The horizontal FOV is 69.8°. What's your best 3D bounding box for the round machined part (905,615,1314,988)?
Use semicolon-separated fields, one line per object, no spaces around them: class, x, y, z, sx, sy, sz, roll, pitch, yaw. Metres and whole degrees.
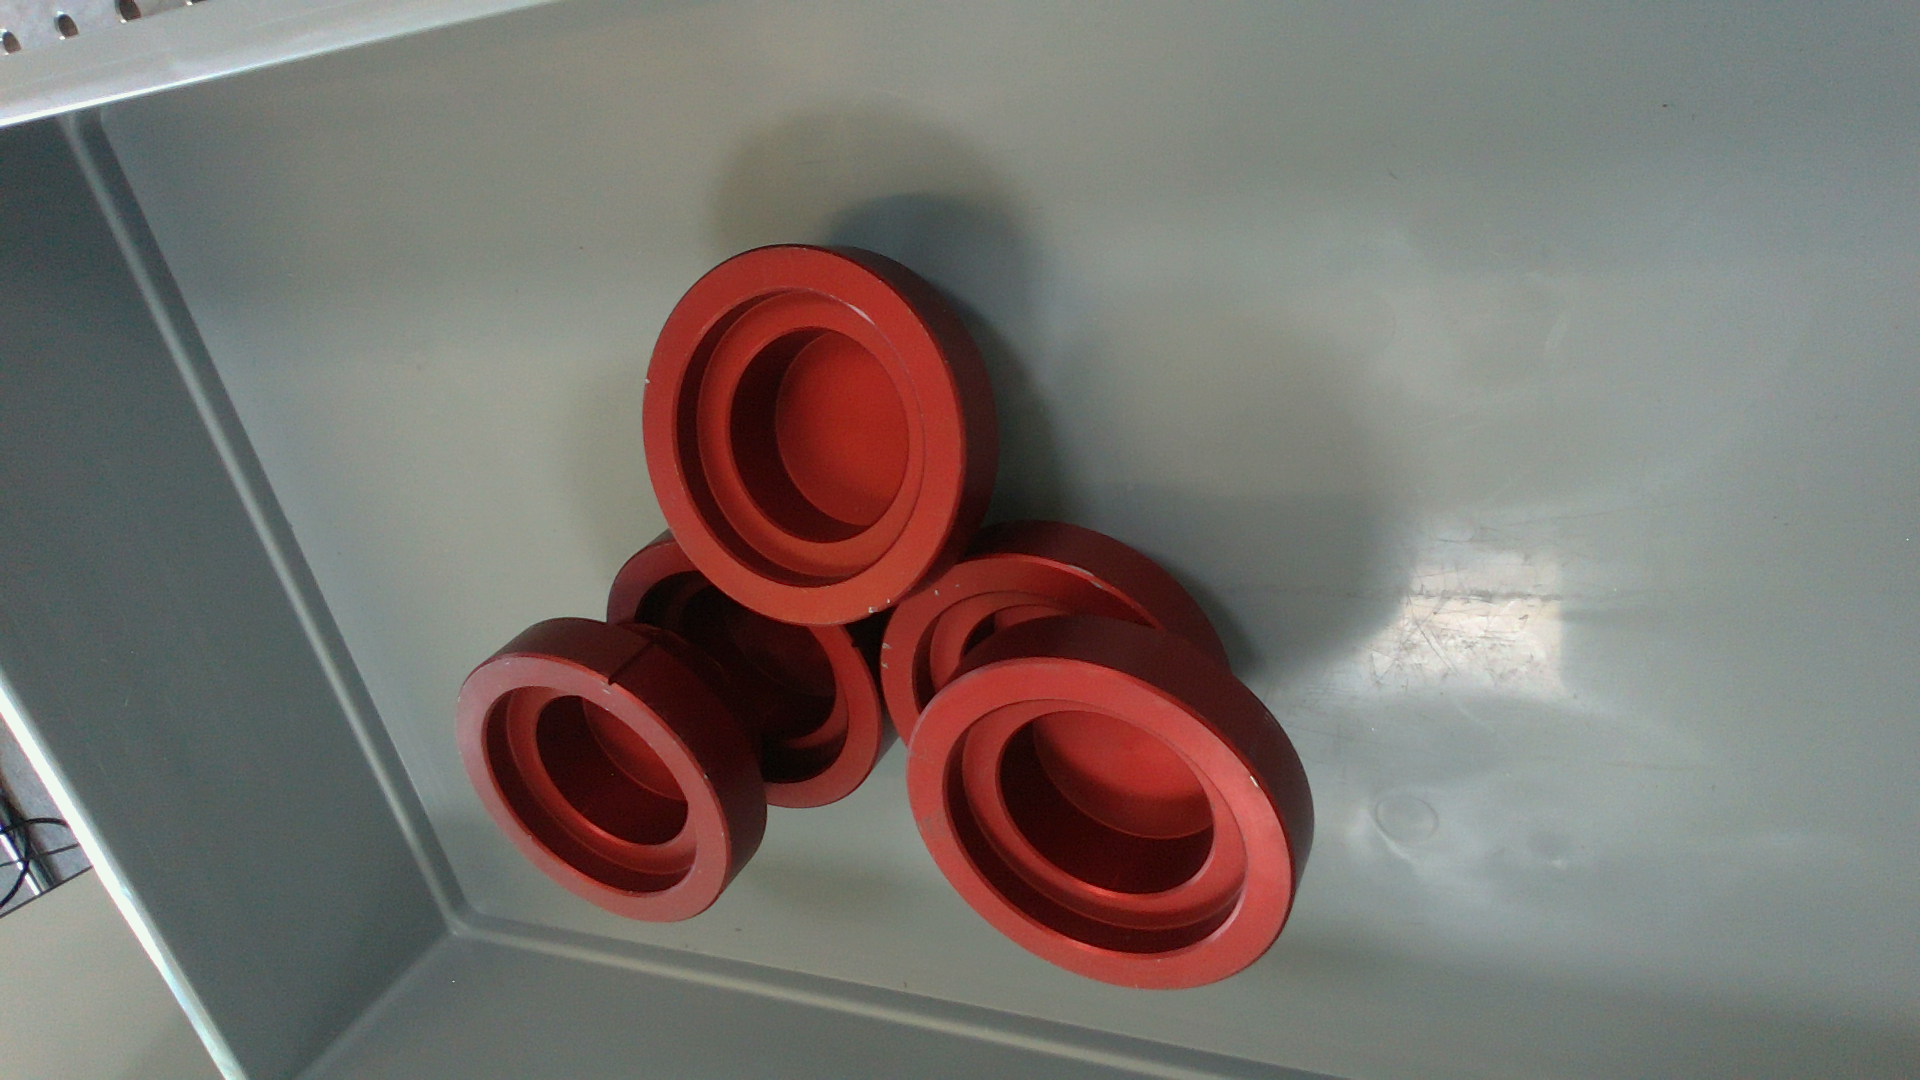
round machined part;0.039;0.060;0.343;0.098;0.042;0.098;13;124;21

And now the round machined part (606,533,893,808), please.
round machined part;-0.059;0.033;0.432;0.098;0.042;0.098;13;124;21

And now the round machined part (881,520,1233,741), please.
round machined part;0.030;0.037;0.388;0.098;0.042;0.098;13;124;21

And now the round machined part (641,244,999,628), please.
round machined part;-0.033;-0.029;0.368;0.098;0.042;0.098;6;103;26

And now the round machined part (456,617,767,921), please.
round machined part;-0.101;0.065;0.421;0.098;0.042;0.098;13;124;21
